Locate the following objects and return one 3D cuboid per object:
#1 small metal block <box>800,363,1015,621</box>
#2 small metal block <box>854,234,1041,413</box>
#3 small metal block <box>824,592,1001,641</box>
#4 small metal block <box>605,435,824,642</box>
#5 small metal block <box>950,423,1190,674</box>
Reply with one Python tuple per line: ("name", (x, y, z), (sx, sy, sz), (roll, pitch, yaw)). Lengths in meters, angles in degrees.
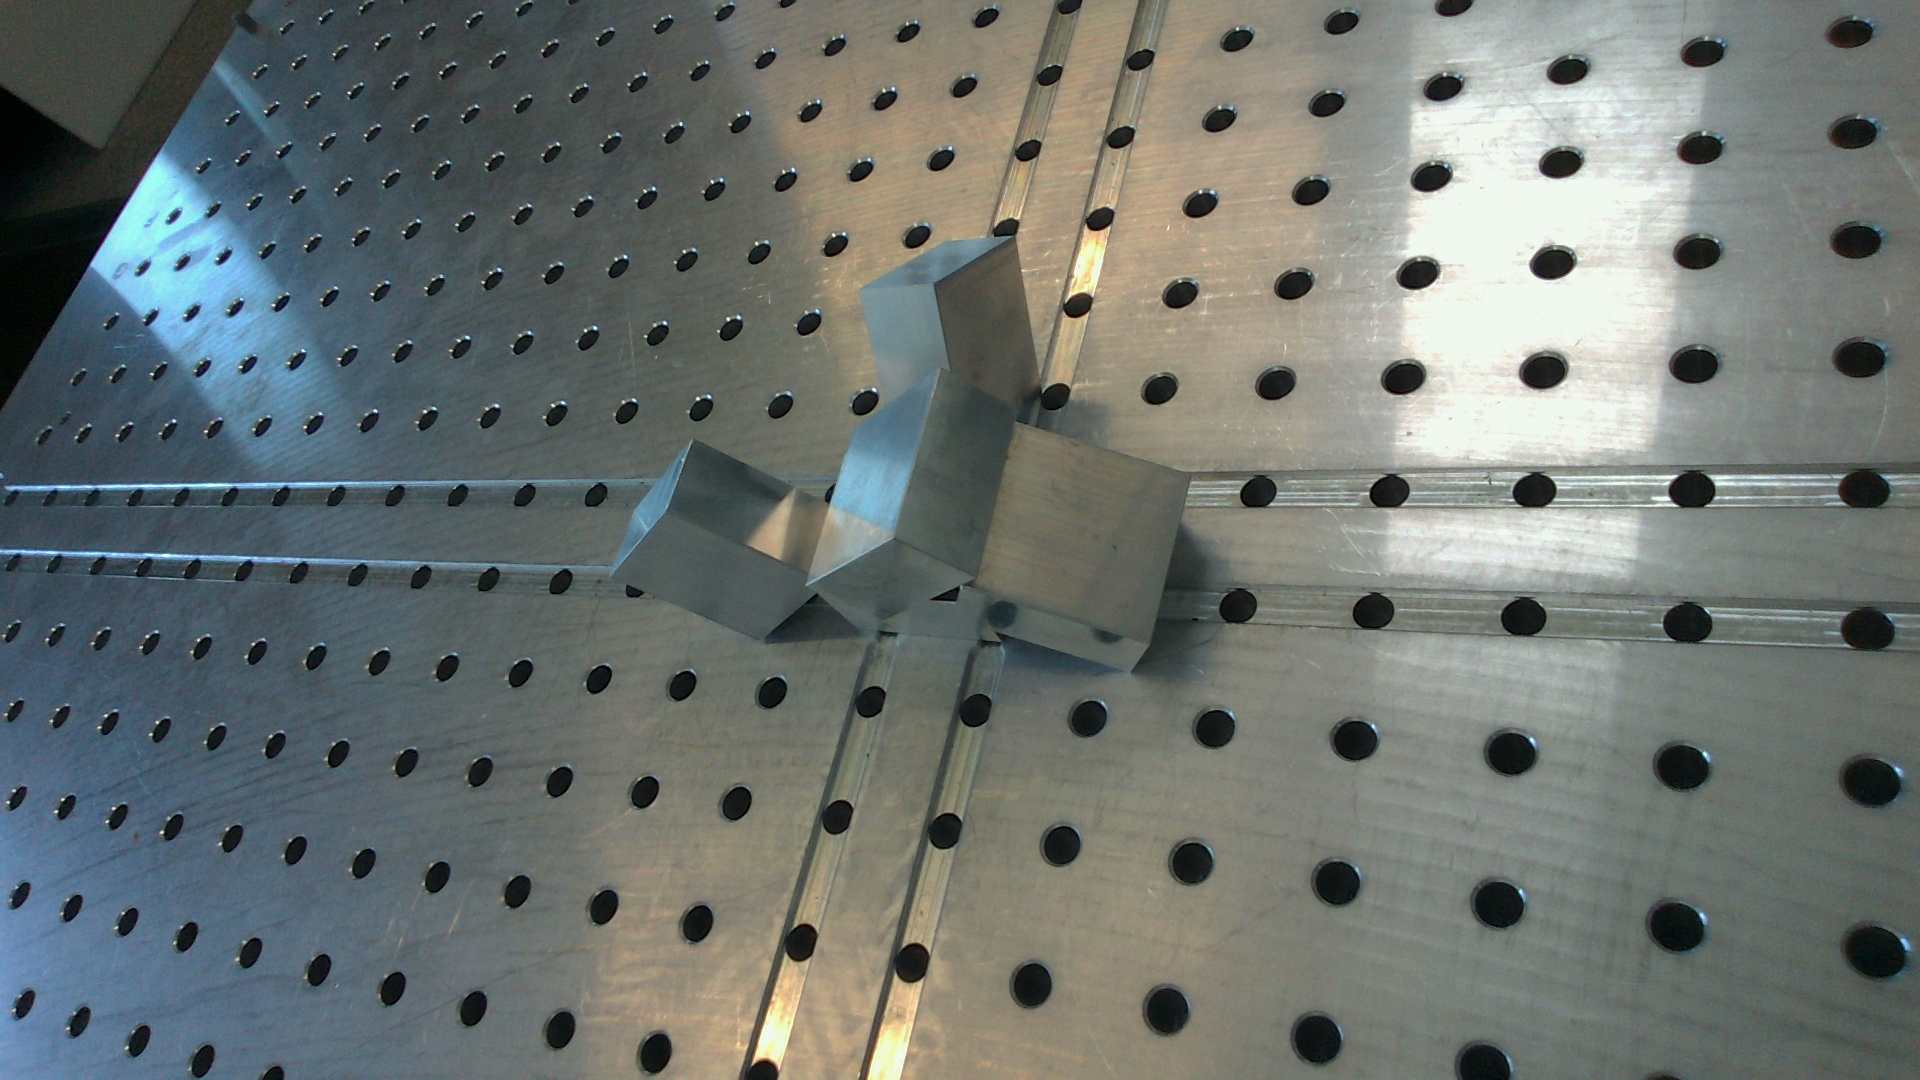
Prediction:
("small metal block", (-0.014, -0.011, 0.364), (0.050, 0.025, 0.050), (-28, 42, 55))
("small metal block", (-0.002, -0.058, 0.404), (0.025, 0.050, 0.050), (3, 27, 30))
("small metal block", (-0.009, 0.000, 0.402), (0.050, 0.025, 0.050), (2, 63, 30))
("small metal block", (-0.070, 0.001, 0.404), (0.050, 0.050, 0.025), (-37, 33, 51))
("small metal block", (0.029, 0.002, 0.366), (0.050, 0.025, 0.050), (16, 66, 2))
